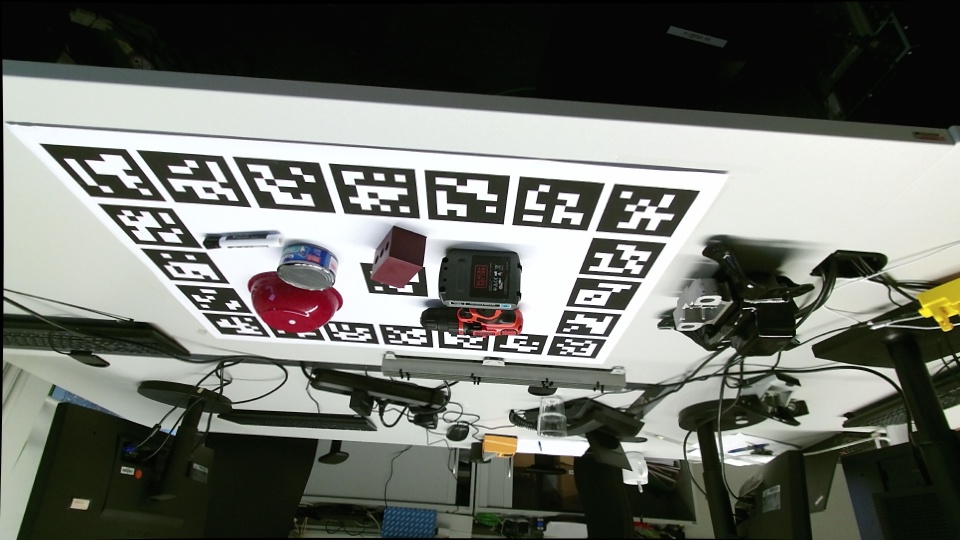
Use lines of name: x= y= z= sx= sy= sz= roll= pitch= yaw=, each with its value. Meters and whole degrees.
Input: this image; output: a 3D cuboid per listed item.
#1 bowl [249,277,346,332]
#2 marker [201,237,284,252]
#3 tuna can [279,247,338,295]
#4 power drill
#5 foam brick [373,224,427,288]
bowl: x=-0.318 y=0.067 z=0.927 sx=0.162 sy=0.055 sz=0.162 roll=0 pitch=155 yaw=0
marker: x=-0.346 y=-0.037 z=0.776 sx=0.121 sy=0.019 sz=0.020 roll=-1 pitch=146 yaw=8
tuna can: x=-0.263 y=0.002 z=0.817 sx=0.086 sy=0.033 sz=0.086 roll=5 pitch=148 yaw=3
power drill: x=-0.005 y=0.053 z=0.859 sx=0.185 sy=0.057 sz=0.187 roll=6 pitch=151 yaw=3
foam brick: x=-0.116 y=-0.019 z=0.765 sx=0.051 sy=0.052 sz=0.078 roll=19 pitch=144 yaw=-20
